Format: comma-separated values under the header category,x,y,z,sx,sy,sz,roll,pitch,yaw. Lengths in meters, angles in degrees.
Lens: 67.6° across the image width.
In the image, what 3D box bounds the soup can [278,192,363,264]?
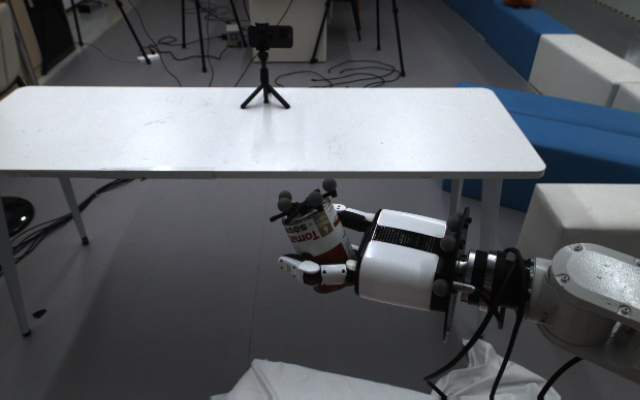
category,x,y,z,sx,sy,sz,roll,pitch,yaw
soup can,0.005,0.055,0.604,0.067,0.101,0.067,-23,16,7
